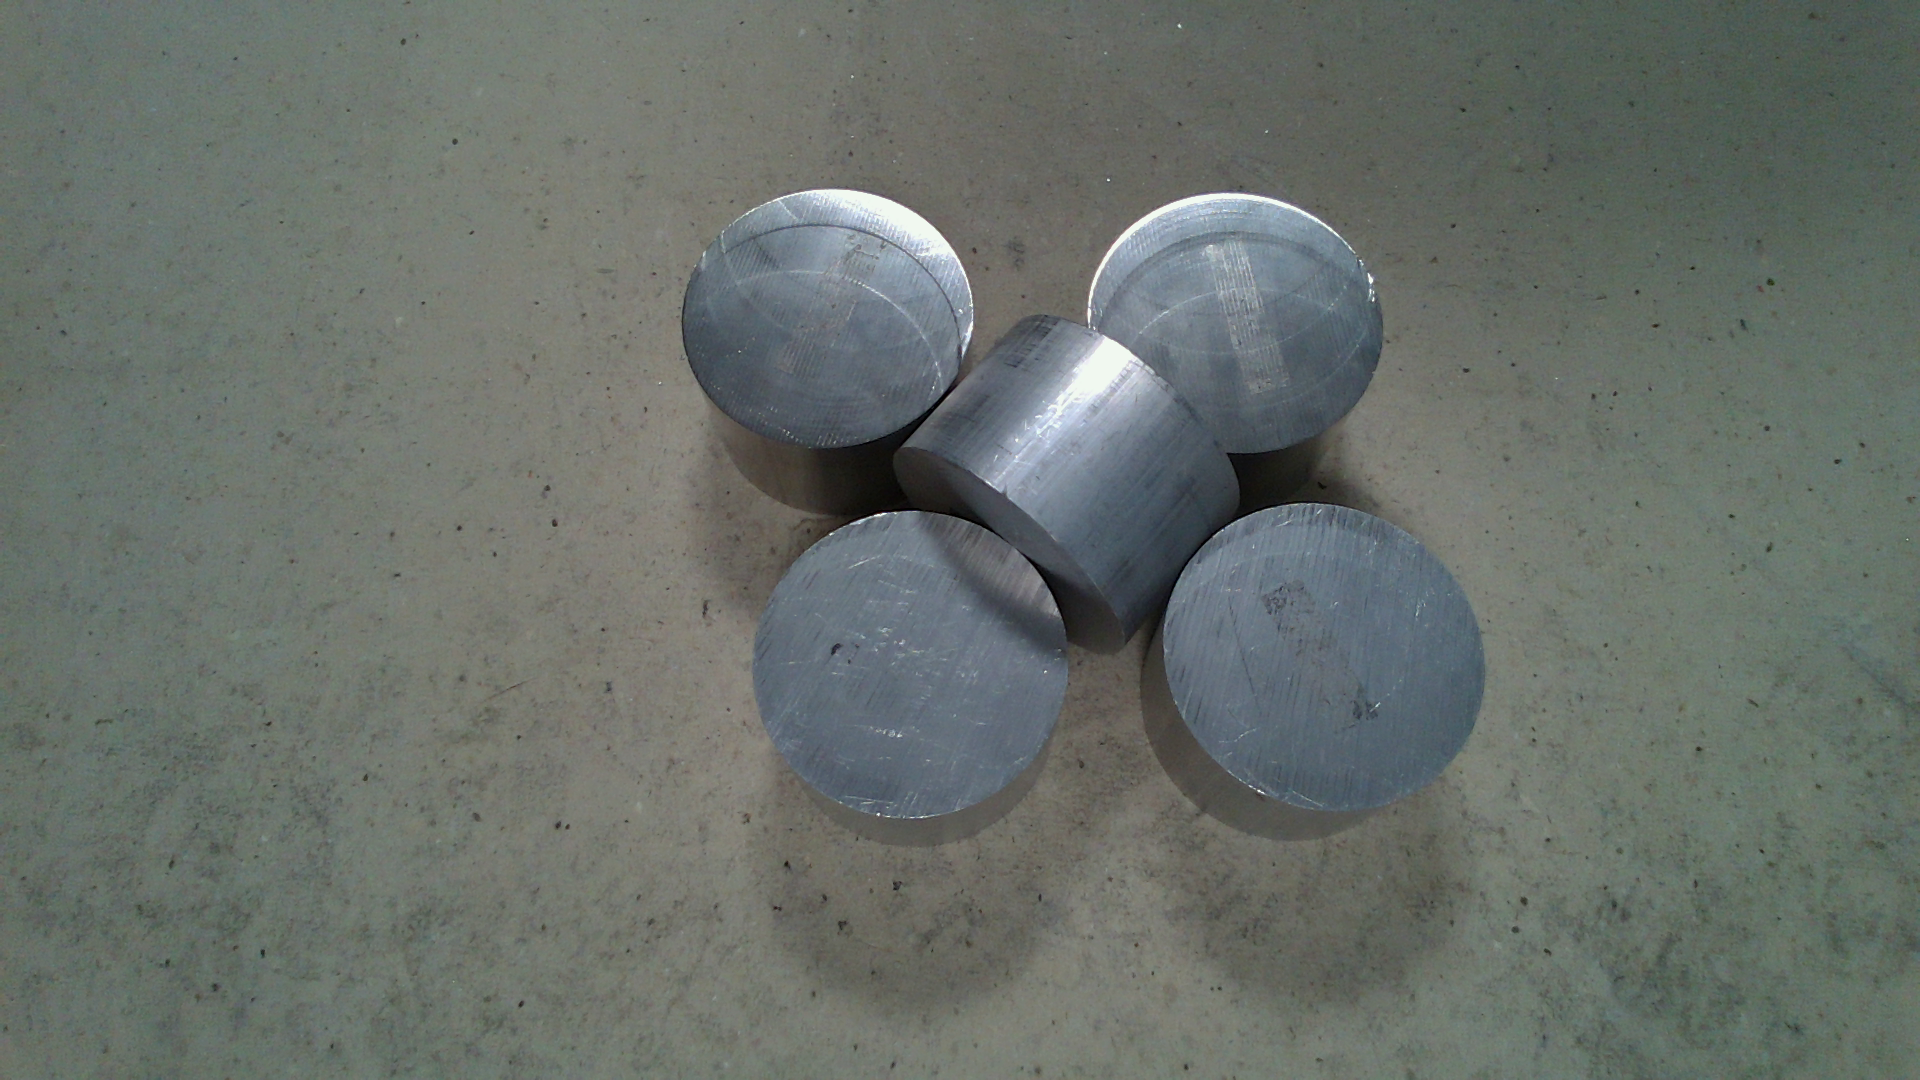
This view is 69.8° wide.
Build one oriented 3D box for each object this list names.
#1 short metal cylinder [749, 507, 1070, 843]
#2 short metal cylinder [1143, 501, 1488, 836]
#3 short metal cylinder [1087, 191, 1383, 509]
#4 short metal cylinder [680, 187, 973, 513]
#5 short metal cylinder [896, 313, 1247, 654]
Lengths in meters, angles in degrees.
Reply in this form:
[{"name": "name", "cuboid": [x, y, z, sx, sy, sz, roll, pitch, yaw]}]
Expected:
[{"name": "short metal cylinder", "cuboid": [-0.012, 0.038, 0.367, 0.080, 0.050, 0.080, 0, 70, 0]}, {"name": "short metal cylinder", "cuboid": [0.092, 0.036, 0.367, 0.080, 0.050, 0.080, 0, 70, 0]}, {"name": "short metal cylinder", "cuboid": [0.075, -0.053, 0.399, 0.080, 0.050, 0.080, 0, 70, 0]}, {"name": "short metal cylinder", "cuboid": [-0.036, -0.054, 0.400, 0.080, 0.050, 0.080, 0, 70, 0]}, {"name": "short metal cylinder", "cuboid": [0.029, -0.014, 0.371, 0.080, 0.080, 0.050, 38, 74, 13]}]
